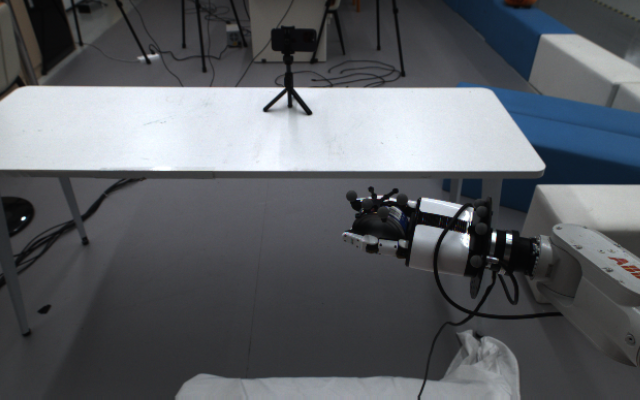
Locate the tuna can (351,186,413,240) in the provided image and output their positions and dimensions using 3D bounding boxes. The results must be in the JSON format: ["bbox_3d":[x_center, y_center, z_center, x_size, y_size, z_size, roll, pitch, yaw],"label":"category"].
[{"bbox_3d":[0.097,0.042,0.766,0.085,0.085,0.034,14,41,16],"label":"tuna can"}]
